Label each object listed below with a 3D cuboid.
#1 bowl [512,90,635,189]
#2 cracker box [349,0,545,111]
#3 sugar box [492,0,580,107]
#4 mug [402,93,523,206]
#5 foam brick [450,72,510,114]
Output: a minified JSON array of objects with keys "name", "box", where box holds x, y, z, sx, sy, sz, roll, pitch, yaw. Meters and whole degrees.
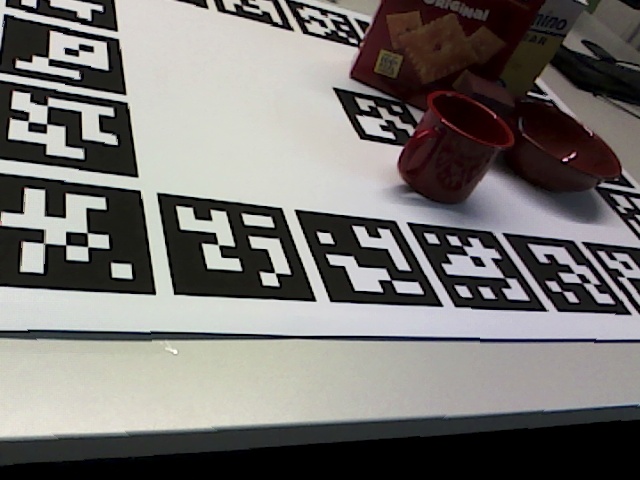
[{"name":"bowl","box":[0.288,-0.111,0.740,0.161,0.055,0.162,17,39,-14]},{"name":"cracker box","box":[0.153,-0.262,0.724,0.164,0.214,0.072,25,35,-5]},{"name":"sugar box","box":[0.240,-0.251,0.793,0.092,0.176,0.045,19,38,-11]},{"name":"mug","box":[0.128,-0.087,0.602,0.116,0.081,0.094,-4,39,-32]},{"name":"foam brick","box":[0.169,-0.139,0.707,0.052,0.078,0.051,15,38,-15]}]
